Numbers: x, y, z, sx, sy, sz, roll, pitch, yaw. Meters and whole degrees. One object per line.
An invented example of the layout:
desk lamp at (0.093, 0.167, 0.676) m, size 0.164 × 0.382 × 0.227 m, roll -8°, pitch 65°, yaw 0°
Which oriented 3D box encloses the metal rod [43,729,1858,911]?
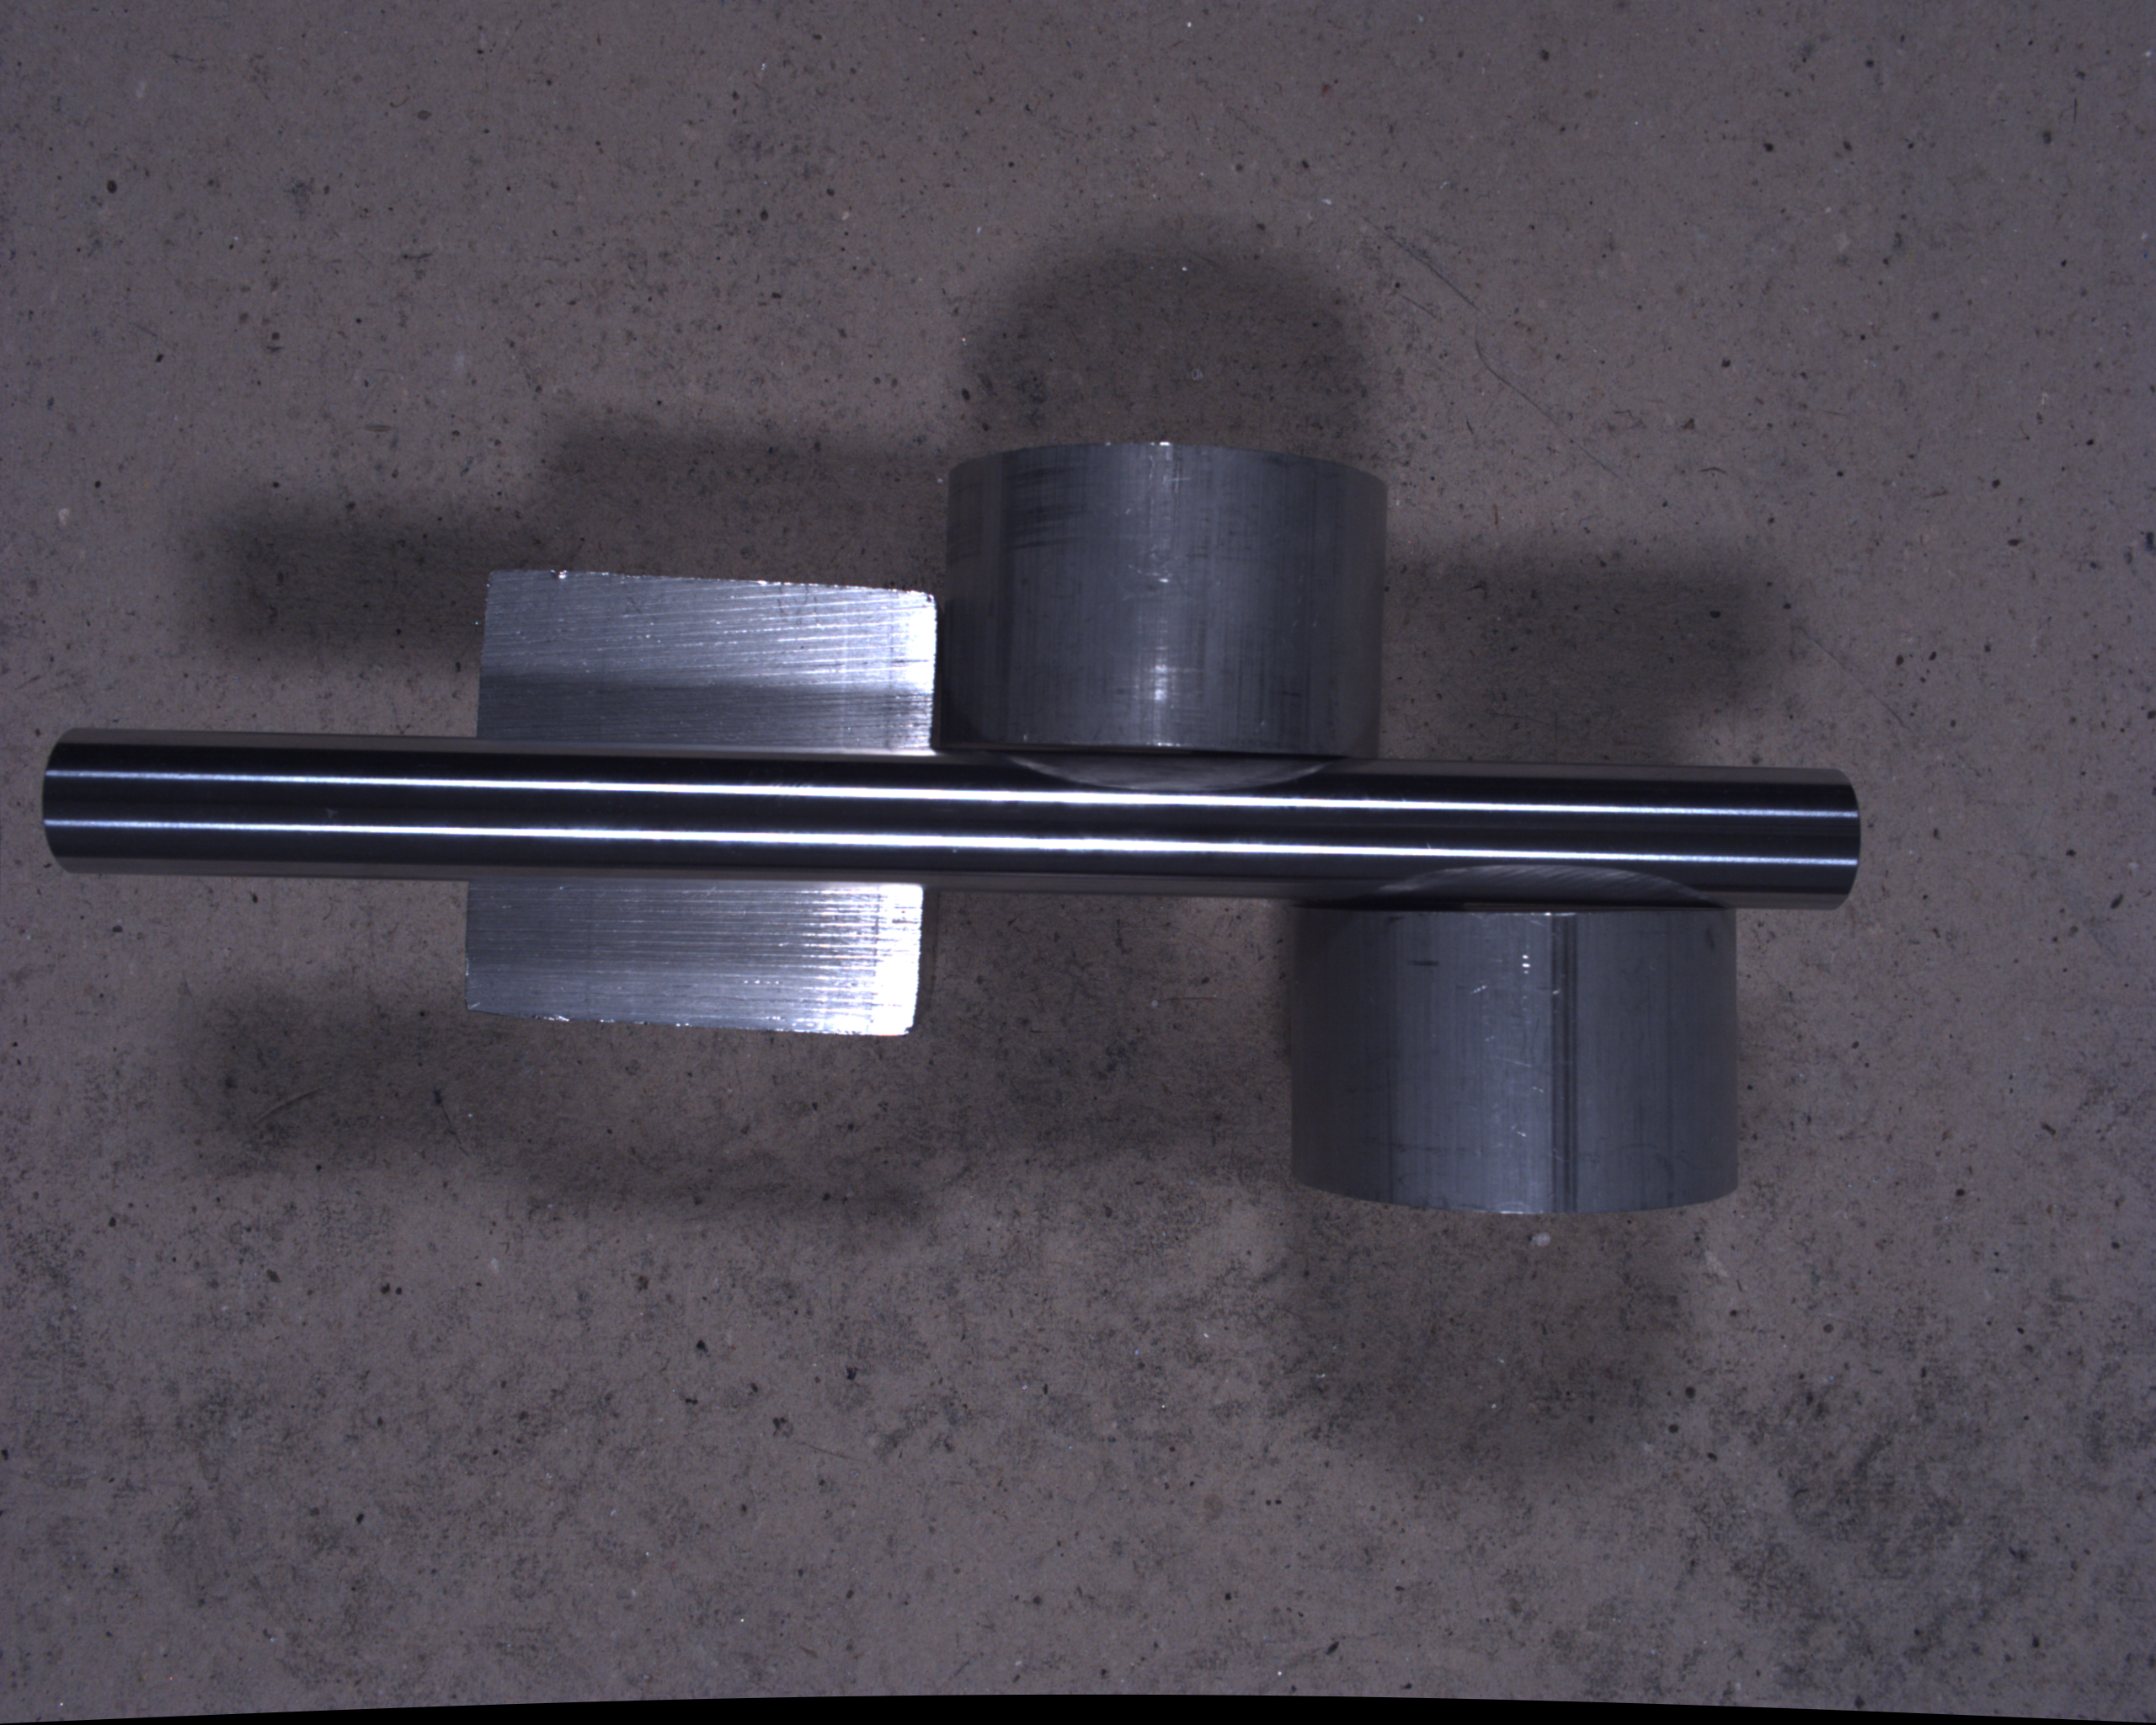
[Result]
metal rod at (-0.020, -0.007, 0.360) m, size 0.302 × 0.025 × 0.025 m, roll 1°, pitch 90°, yaw -2°

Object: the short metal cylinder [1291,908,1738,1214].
short metal cylinder at (0.080, 0.033, 0.384) m, size 0.081 × 0.080 × 0.050 m, roll 0°, pitch 90°, yaw -1°

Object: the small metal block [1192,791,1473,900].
small metal block at (0.046, -0.005, 0.398) m, size 0.050 × 0.050 × 0.025 m, roll 1°, pitch 90°, yaw -1°

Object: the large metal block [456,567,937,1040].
large metal block at (-0.068, -0.011, 0.395) m, size 0.081 × 0.050 × 0.079 m, roll 3°, pitch 90°, yaw -1°

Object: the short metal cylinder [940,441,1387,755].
short metal cylinder at (0.016, -0.045, 0.385) m, size 0.081 × 0.080 × 0.050 m, roll 2°, pitch 90°, yaw -1°
